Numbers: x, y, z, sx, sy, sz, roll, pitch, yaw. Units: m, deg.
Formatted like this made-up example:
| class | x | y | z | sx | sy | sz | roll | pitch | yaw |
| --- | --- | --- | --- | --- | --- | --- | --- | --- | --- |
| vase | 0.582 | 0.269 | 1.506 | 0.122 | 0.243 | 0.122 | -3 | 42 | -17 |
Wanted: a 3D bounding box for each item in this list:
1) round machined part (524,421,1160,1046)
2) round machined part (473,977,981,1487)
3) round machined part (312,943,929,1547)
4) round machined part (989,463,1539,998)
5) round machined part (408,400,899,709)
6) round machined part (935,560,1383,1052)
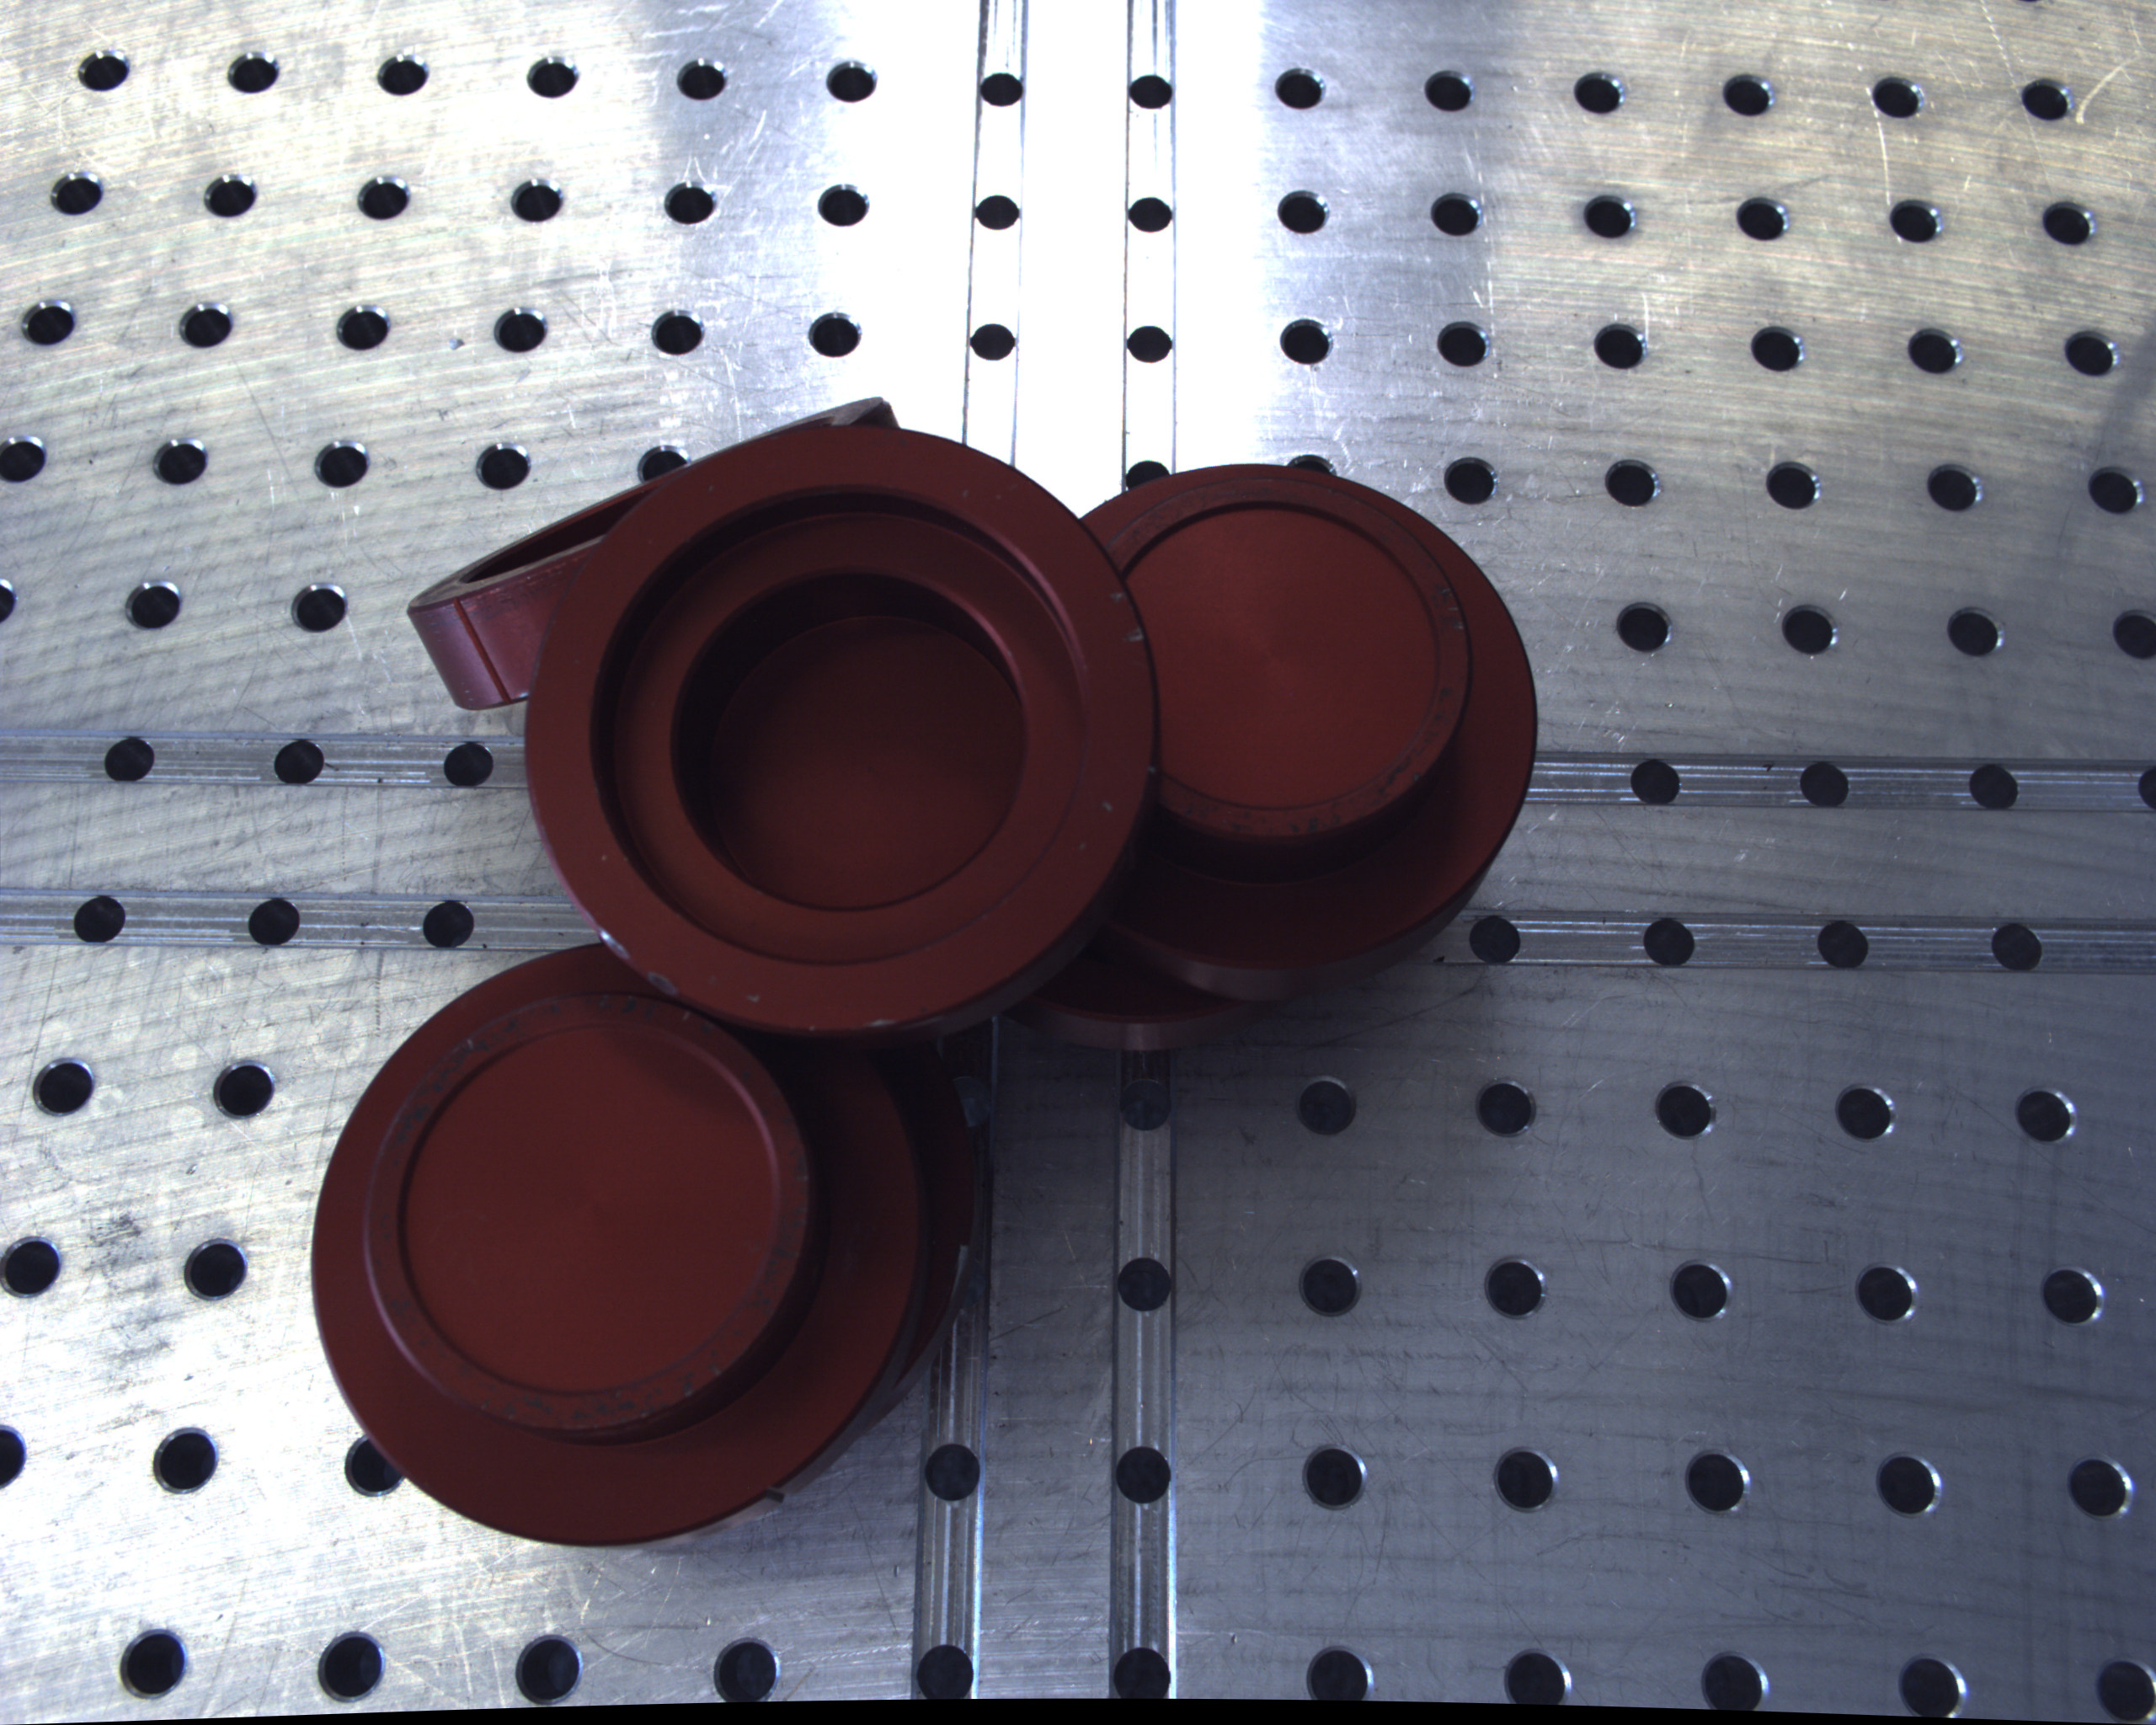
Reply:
| class | x | y | z | sx | sy | sz | roll | pitch | yaw |
| --- | --- | --- | --- | --- | --- | --- | --- | --- | --- |
| round machined part | -0.036 | -0.019 | 0.341 | 0.098 | 0.042 | 0.098 | -1 | 78 | 3 |
| round machined part | -0.066 | 0.057 | 0.359 | 0.099 | 0.042 | 0.098 | 0 | 70 | 0 |
| round machined part | -0.074 | 0.059 | 0.336 | 0.099 | 0.042 | 0.098 | 0 | 70 | 0 |
| round machined part | 0.032 | -0.029 | 0.368 | 0.099 | 0.042 | 0.098 | 0 | 69 | 0 |
| round machined part | -0.073 | -0.051 | 0.401 | 0.098 | 0.098 | 0.042 | -26 | 107 | -9 |
| round machined part | 0.010 | -0.017 | 0.387 | 0.099 | 0.042 | 0.098 | 0 | 70 | 0 |
